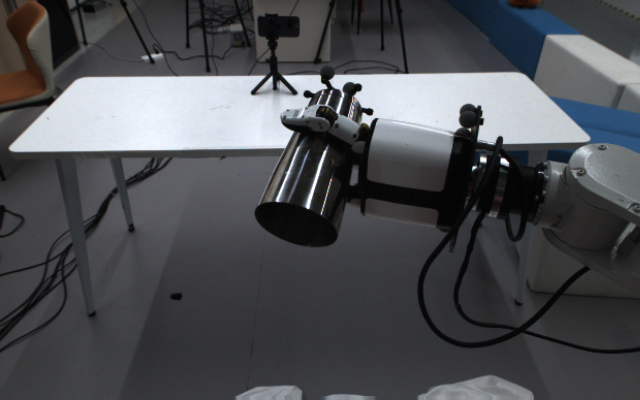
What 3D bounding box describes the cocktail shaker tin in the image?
[{"bbox_3d":[-0.001,-0.042,0.548,0.093,0.093,0.170,11,60,12],"label":"cocktail shaker tin"}]
